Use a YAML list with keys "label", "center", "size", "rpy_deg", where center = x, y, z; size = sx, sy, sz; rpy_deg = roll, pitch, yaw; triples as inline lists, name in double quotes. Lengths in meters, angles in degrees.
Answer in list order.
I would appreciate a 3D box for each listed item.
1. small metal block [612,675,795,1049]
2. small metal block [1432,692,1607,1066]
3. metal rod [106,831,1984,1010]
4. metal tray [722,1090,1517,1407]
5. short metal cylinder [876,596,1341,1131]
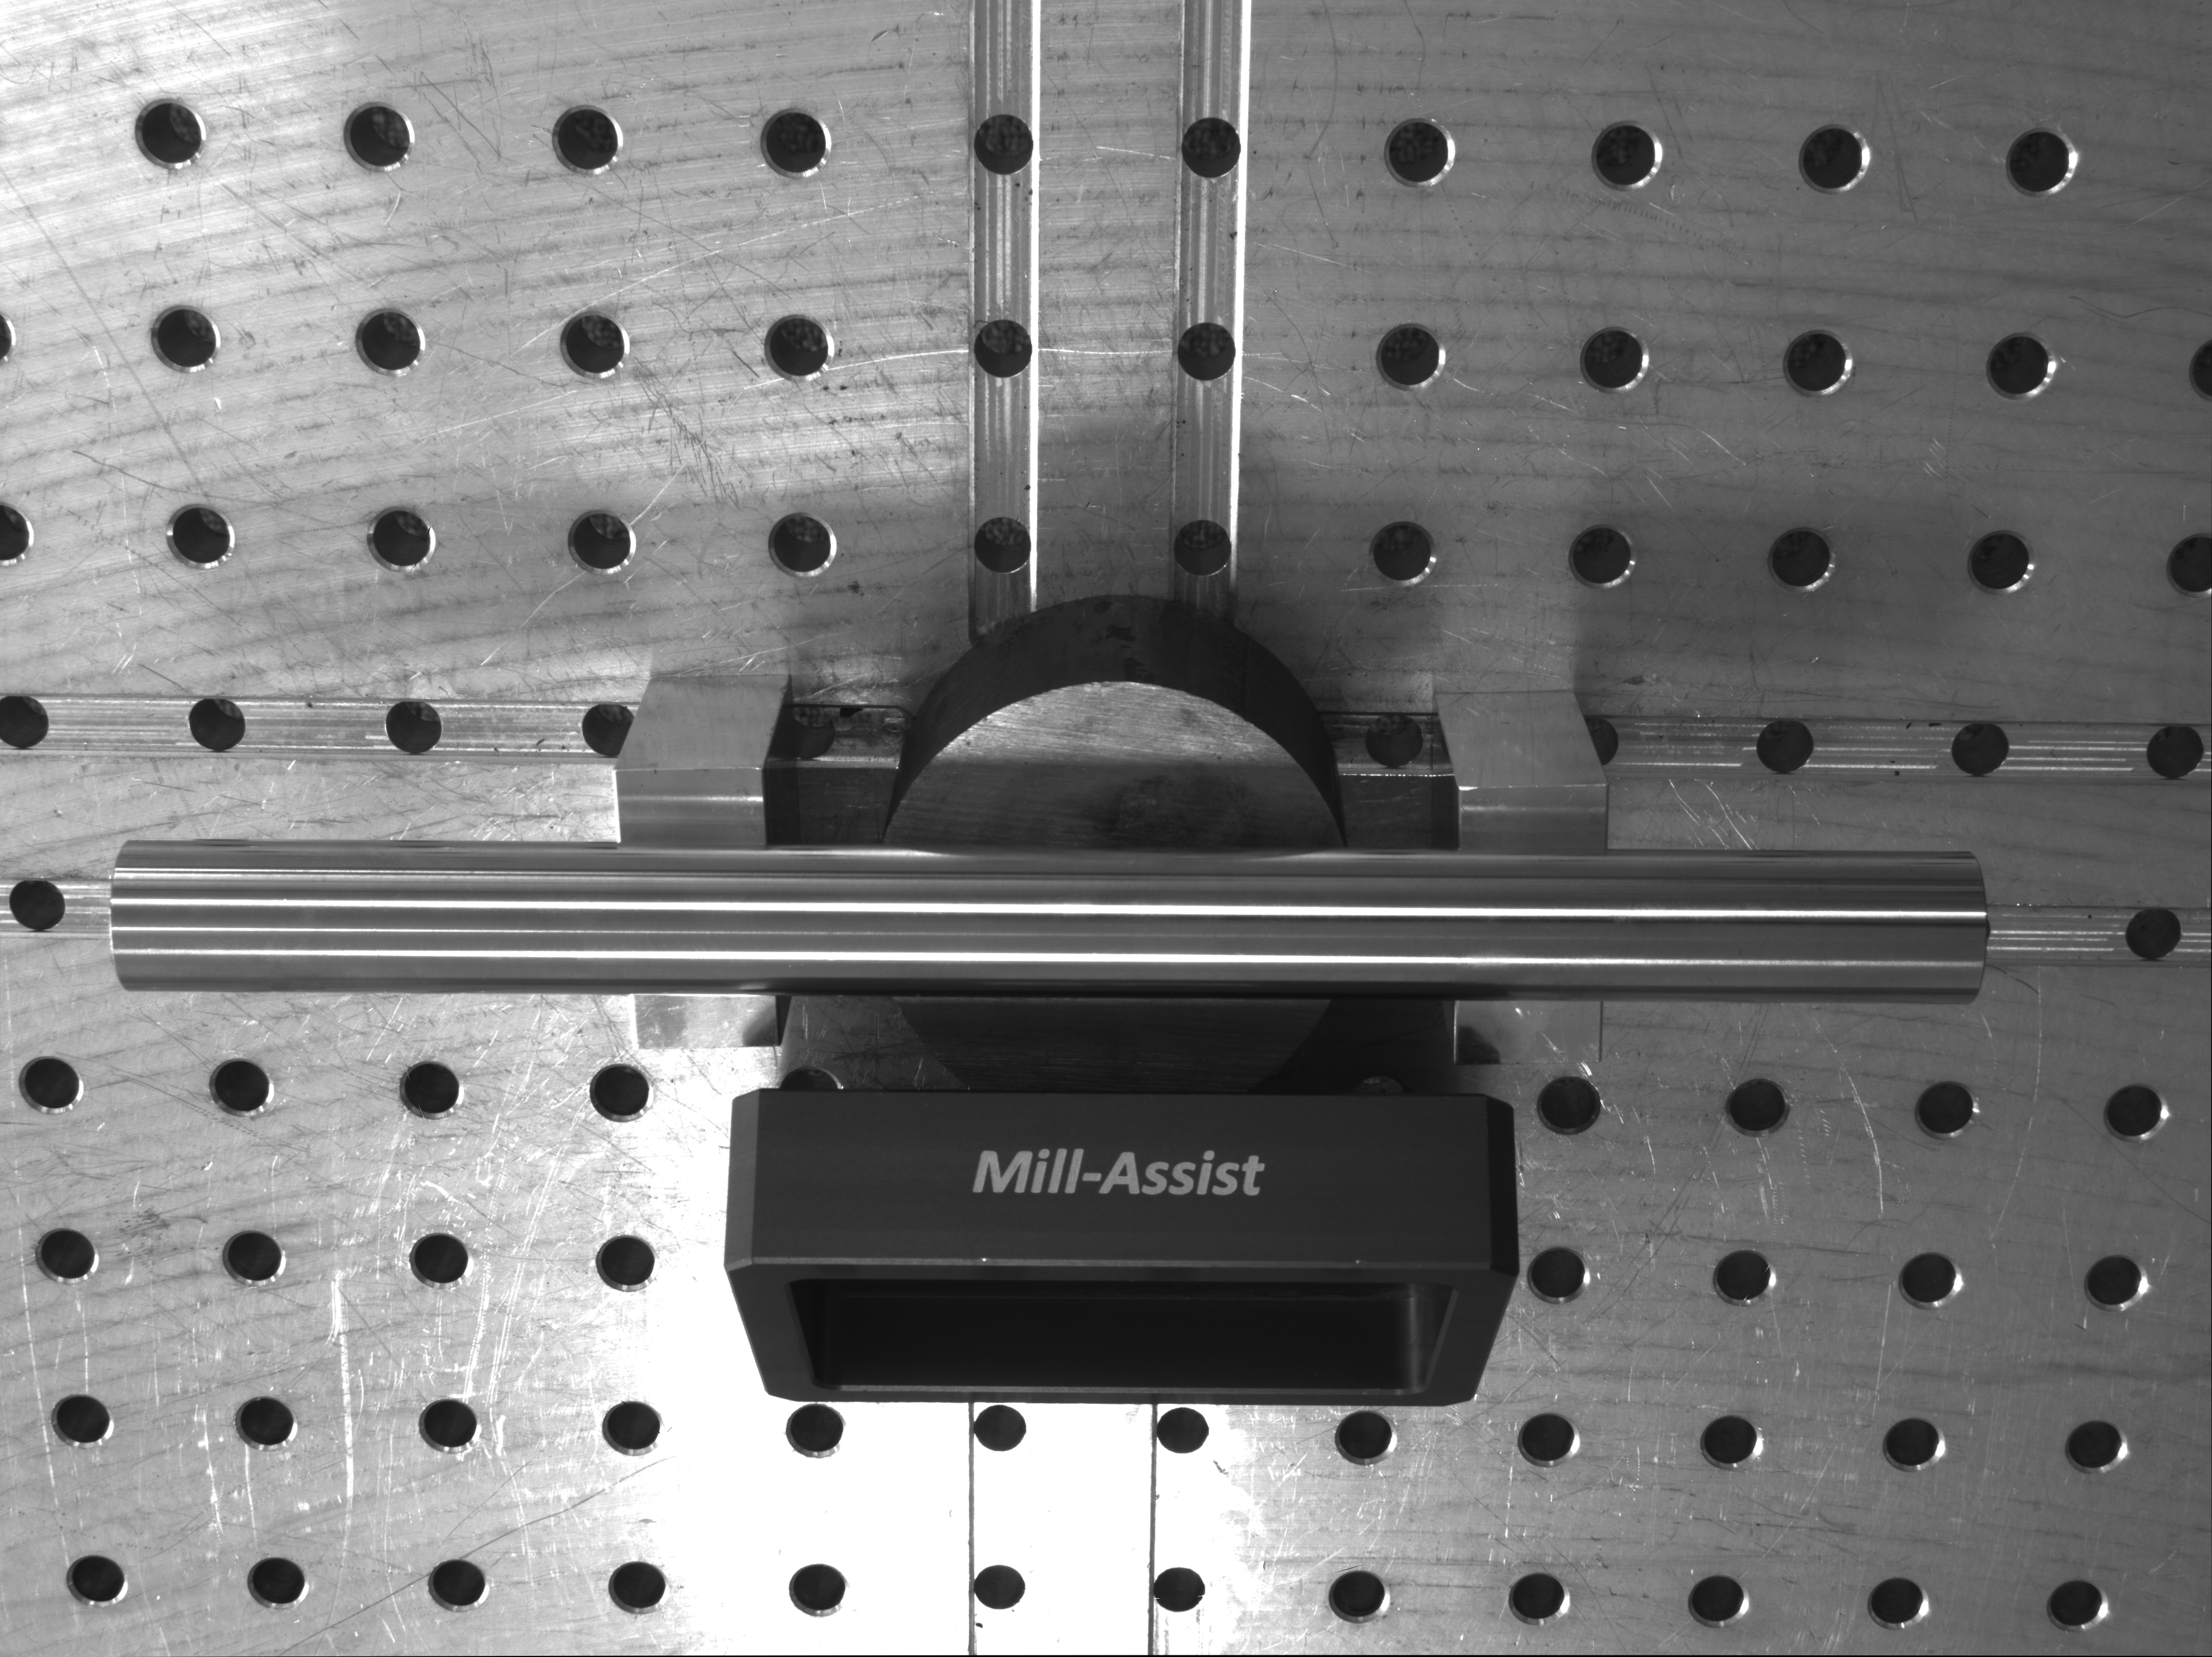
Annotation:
- label: "small metal block"
  center: [-0.068, 0.005, 0.635]
  size: [0.025, 0.050, 0.050]
  rpy_deg: [-1, 110, 1]
- label: "small metal block"
  center: [0.071, 0.008, 0.636]
  size: [0.025, 0.050, 0.050]
  rpy_deg: [-1, 110, 1]
- label: "metal rod"
  center: [-0.010, 0.015, 0.598]
  size: [0.300, 0.025, 0.025]
  rpy_deg: [1, 110, 0]
- label: "metal tray"
  center: [0.002, 0.075, 0.641]
  size: [0.130, 0.090, 0.030]
  rpy_deg: [0, 67, 0]
- label: "short metal cylinder"
  center: [0.001, 0.005, 0.634]
  size: [0.080, 0.050, 0.080]
  rpy_deg: [0, 110, 0]
